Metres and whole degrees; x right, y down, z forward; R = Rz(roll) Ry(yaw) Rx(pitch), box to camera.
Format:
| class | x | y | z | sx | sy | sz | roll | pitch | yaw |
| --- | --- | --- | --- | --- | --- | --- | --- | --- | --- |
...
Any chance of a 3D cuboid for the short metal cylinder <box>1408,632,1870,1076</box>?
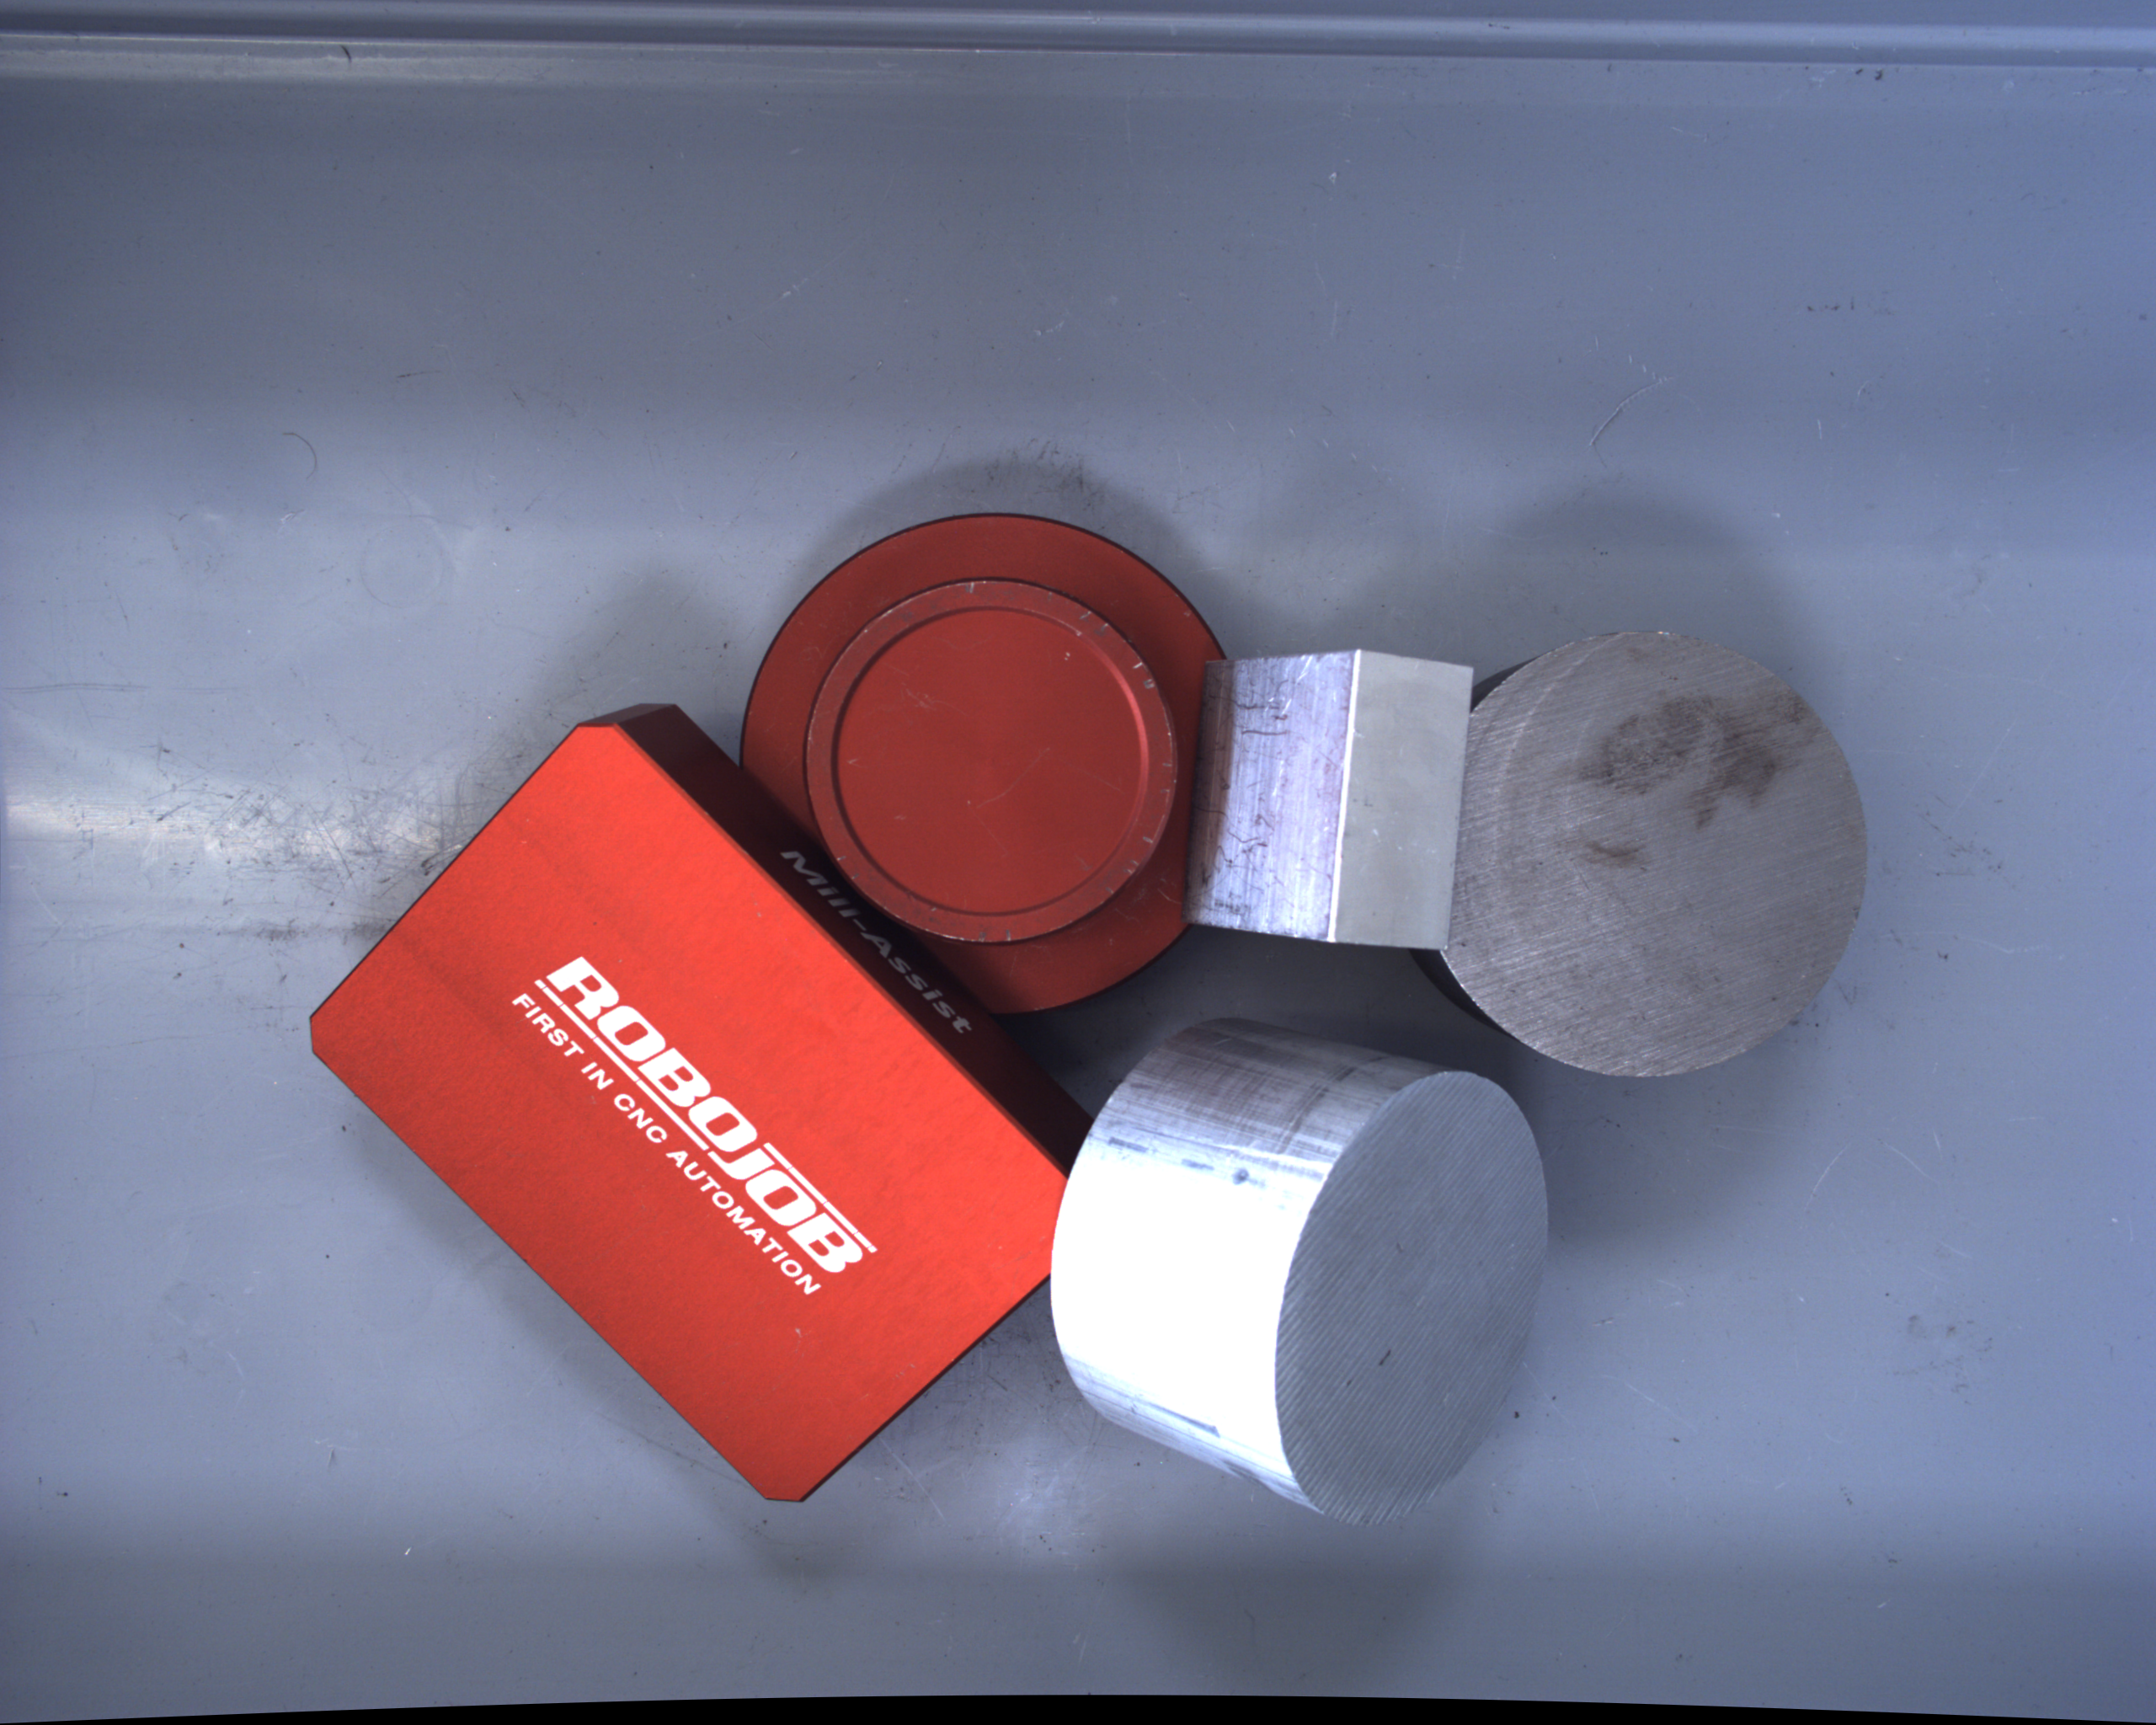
| class | x | y | z | sx | sy | sz | roll | pitch | yaw |
| --- | --- | --- | --- | --- | --- | --- | --- | --- | --- |
| short metal cylinder | 0.102 | -0.002 | 0.398 | 0.081 | 0.050 | 0.079 | 0 | 90 | 0 |

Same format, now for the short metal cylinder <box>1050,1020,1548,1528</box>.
| class | x | y | z | sx | sy | sz | roll | pitch | yaw |
| --- | --- | --- | --- | --- | --- | --- | --- | --- | --- |
| short metal cylinder | 0.041 | 0.072 | 0.376 | 0.050 | 0.081 | 0.080 | 10 | 90 | 43 |

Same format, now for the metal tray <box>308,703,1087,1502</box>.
| class | x | y | z | sx | sy | sz | roll | pitch | yaw |
| --- | --- | --- | --- | --- | --- | --- | --- | --- | --- |
| metal tray | -0.068 | 0.045 | 0.395 | 0.130 | 0.030 | 0.090 | 45 | 105 | -1 |

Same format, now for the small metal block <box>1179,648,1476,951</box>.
| class | x | y | z | sx | sy | sz | roll | pitch | yaw |
| --- | --- | --- | --- | --- | --- | --- | --- | --- | --- |
| small metal block | 0.044 | -0.011 | 0.379 | 0.025 | 0.050 | 0.050 | 6 | 89 | -28 |

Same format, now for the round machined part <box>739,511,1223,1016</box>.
| class | x | y | z | sx | sy | sz | roll | pitch | yaw |
| --- | --- | --- | --- | --- | --- | --- | --- | --- | --- |
| round machined part | -0.016 | -0.019 | 0.400 | 0.099 | 0.042 | 0.097 | 0 | 90 | 0 |
